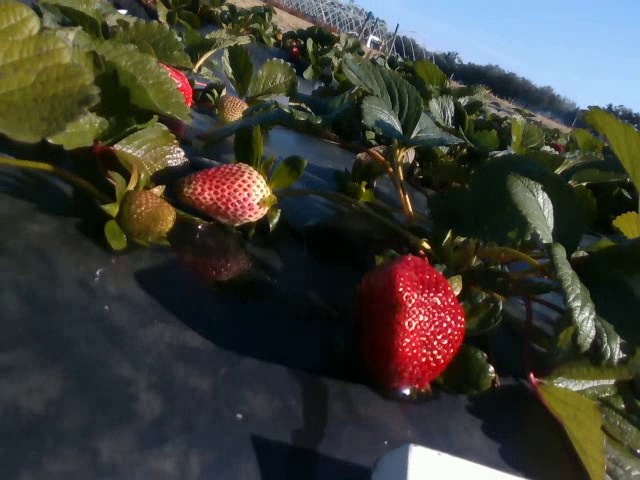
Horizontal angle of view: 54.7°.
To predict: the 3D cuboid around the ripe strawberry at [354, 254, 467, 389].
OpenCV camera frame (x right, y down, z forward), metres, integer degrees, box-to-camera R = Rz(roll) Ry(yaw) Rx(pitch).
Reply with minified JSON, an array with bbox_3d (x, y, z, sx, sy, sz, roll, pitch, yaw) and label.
[{"bbox_3d":[0.025,0.028,0.203,0.058,0.065,0.061,-32,-11,-10],"label":"ripe strawberry"}]
